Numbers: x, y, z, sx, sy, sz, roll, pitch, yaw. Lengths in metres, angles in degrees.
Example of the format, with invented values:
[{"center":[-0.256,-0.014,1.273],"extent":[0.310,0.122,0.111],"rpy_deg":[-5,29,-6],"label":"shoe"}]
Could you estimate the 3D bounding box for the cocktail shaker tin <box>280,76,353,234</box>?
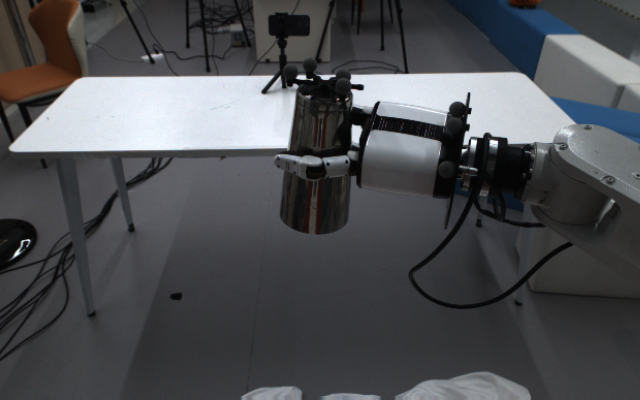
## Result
[{"center":[0.000,-0.054,0.599],"extent":[0.093,0.170,0.093],"rpy_deg":[4,32,-2],"label":"cocktail shaker tin"}]
